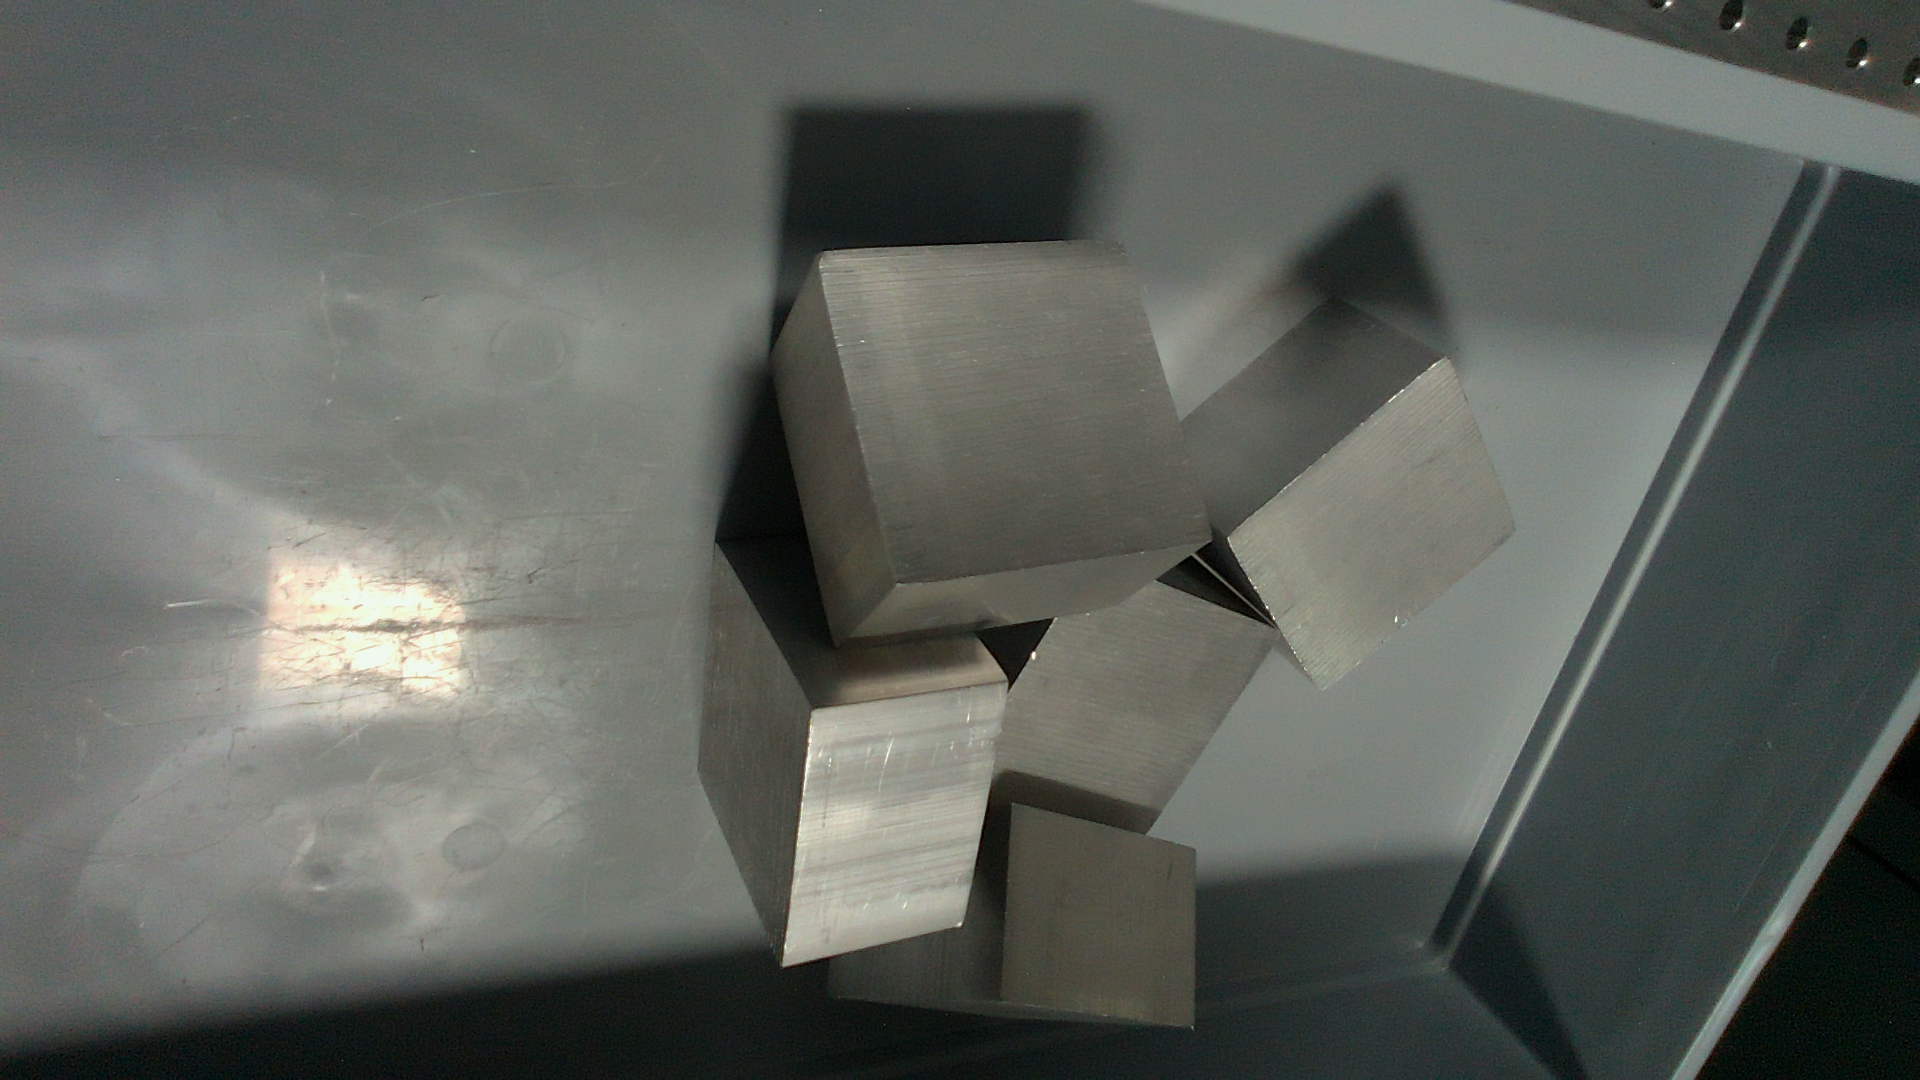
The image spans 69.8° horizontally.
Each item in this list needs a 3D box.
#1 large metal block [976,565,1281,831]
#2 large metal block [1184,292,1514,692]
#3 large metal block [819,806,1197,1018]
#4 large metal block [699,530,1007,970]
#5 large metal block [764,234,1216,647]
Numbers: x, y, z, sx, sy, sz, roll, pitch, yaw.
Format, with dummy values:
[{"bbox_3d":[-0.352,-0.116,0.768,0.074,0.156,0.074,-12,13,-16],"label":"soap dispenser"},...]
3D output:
[{"bbox_3d":[0.035,0.037,0.414,0.080,0.050,0.080,21,107,-36],"label":"large metal block"},{"bbox_3d":[0.113,-0.014,0.424,0.080,0.050,0.080,-40,129,-1],"label":"large metal block"},{"bbox_3d":[0.015,0.116,0.424,0.080,0.080,0.050,21,65,-37],"label":"large metal block"},{"bbox_3d":[-0.033,0.051,0.366,0.050,0.080,0.080,-6,121,-25],"label":"large metal block"},{"bbox_3d":[0.005,-0.025,0.332,0.080,0.080,0.050,-7,163,-24],"label":"large metal block"}]
